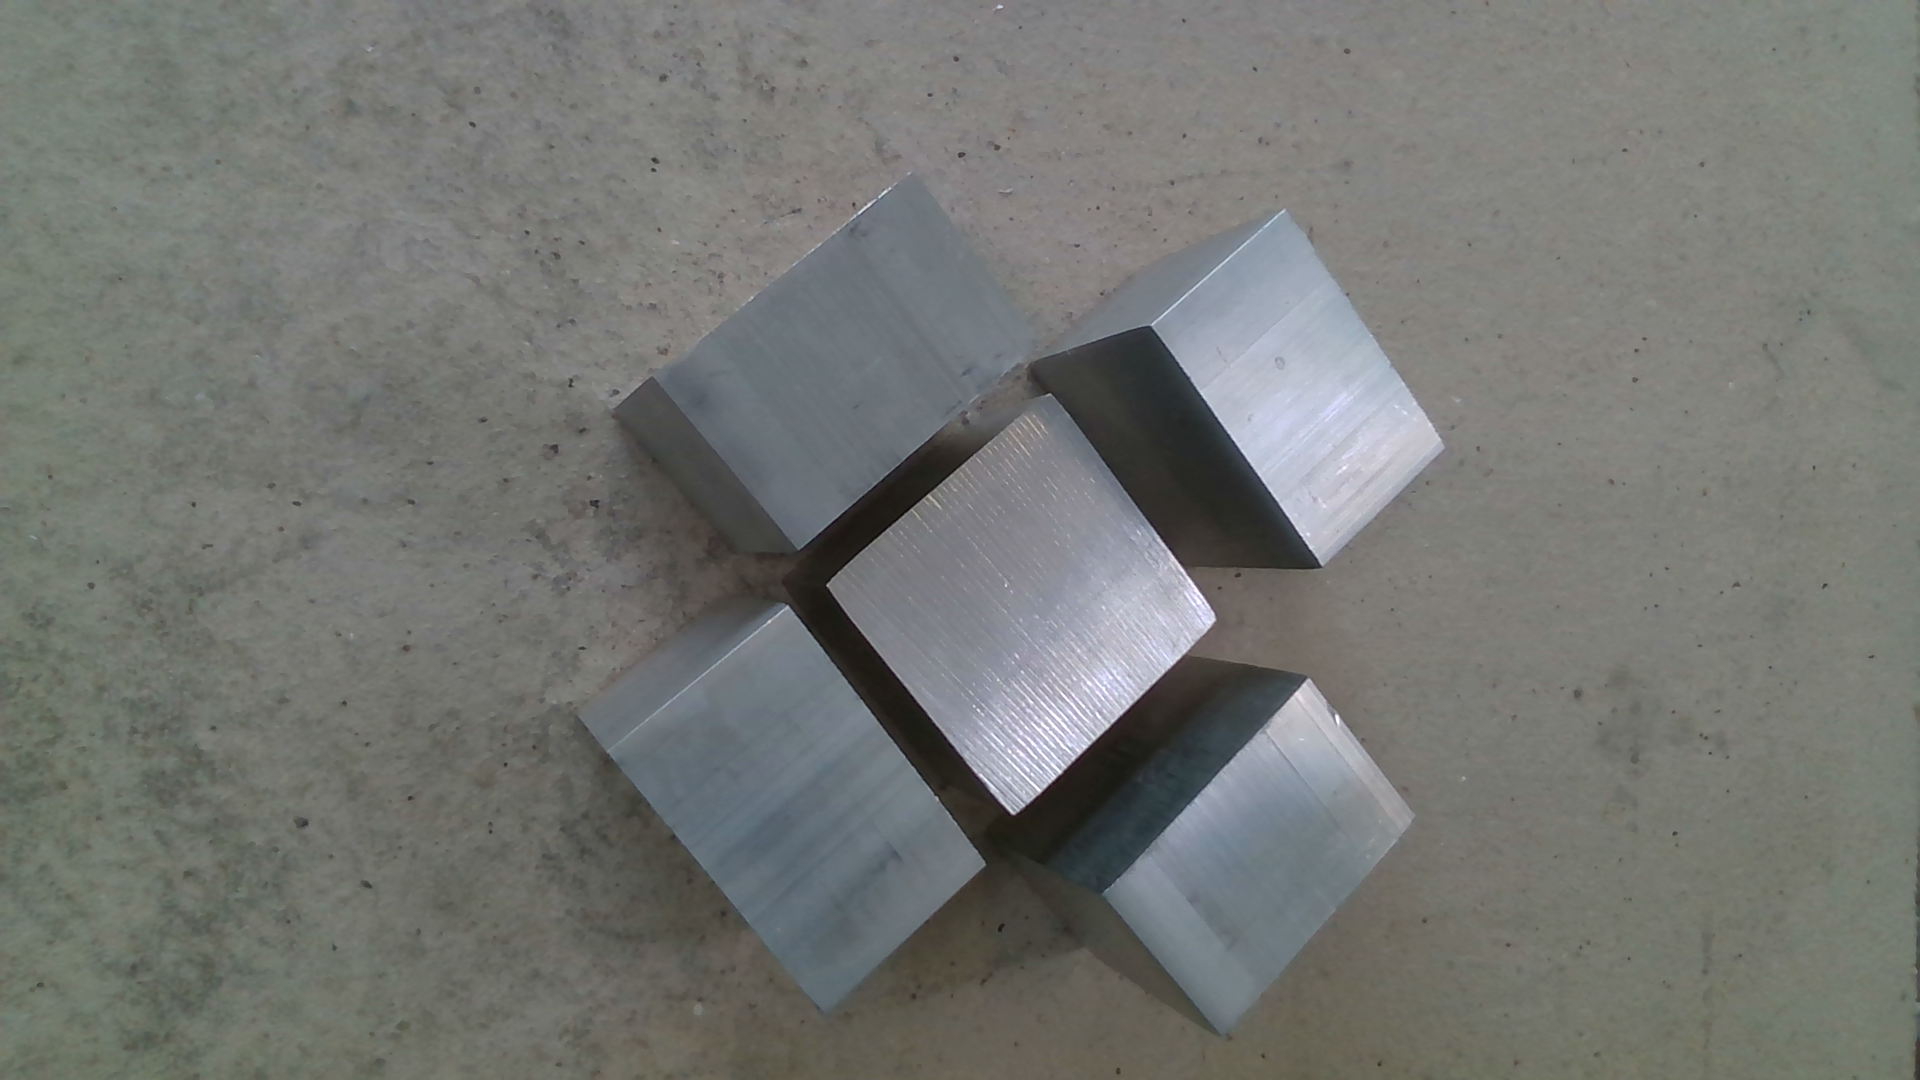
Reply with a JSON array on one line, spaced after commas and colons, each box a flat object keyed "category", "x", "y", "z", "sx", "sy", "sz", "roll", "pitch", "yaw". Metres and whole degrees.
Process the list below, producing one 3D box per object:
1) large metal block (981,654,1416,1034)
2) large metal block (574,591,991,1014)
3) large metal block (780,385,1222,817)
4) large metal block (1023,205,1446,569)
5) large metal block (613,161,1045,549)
[{"category": "large metal block", "x": 0.064, "y": 0.079, "z": 0.388, "sx": 0.080, "sy": 0.080, "sz": 0.050, "roll": -43, "pitch": 104, "yaw": -15}, {"category": "large metal block", "x": -0.048, "y": 0.061, "z": 0.347, "sx": 0.050, "sy": 0.080, "sz": 0.080, "roll": -40, "pitch": 103, "yaw": -17}, {"category": "large metal block", "x": 0.010, "y": 0.016, "z": 0.382, "sx": 0.080, "sy": 0.050, "sz": 0.080, "roll": -41, "pitch": 103, "yaw": -15}, {"category": "large metal block", "x": 0.075, "y": -0.039, "z": 0.393, "sx": 0.050, "sy": 0.080, "sz": 0.080, "roll": -42, "pitch": 103, "yaw": -16}, {"category": "large metal block", "x": -0.037, "y": -0.043, "z": 0.350, "sx": 0.080, "sy": 0.080, "sz": 0.050, "roll": -42, "pitch": 103, "yaw": -15}]
